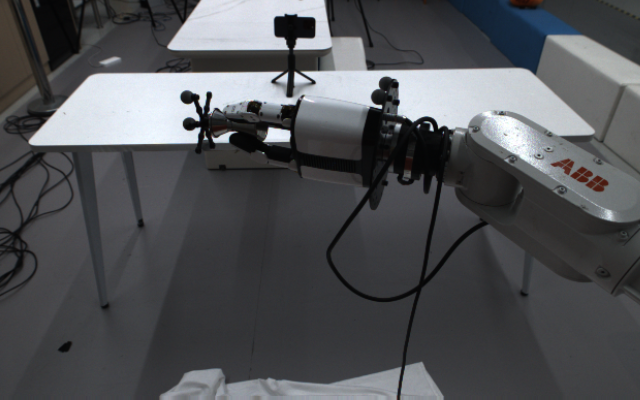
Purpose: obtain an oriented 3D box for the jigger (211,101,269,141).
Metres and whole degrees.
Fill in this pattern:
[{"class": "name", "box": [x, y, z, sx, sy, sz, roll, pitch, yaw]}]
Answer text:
[{"class": "jigger", "box": [-0.105, -0.106, 0.647, 0.071, 0.043, 0.043, 4, 34, 13]}]
